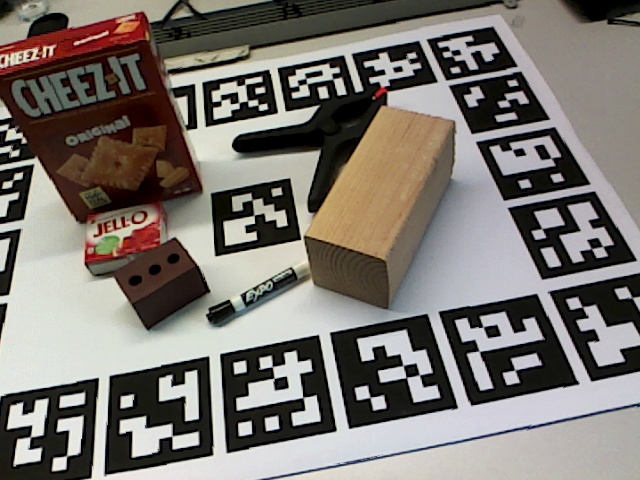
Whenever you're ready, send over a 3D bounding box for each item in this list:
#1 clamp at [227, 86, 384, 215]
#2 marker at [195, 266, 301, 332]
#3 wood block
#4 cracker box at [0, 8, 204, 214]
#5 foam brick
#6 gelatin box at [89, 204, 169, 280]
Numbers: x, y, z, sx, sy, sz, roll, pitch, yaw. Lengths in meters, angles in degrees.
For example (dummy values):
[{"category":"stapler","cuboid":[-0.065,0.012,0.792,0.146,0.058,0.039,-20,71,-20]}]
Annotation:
[{"category":"clamp","cuboid":[0.006,-0.134,0.788,0.202,0.036,0.166,-38,57,-18]},{"category":"marker","cuboid":[-0.077,0.063,0.660,0.121,0.019,0.020,-28,56,-12]},{"category":"wood block","cuboid":[0.067,-0.039,0.677,0.090,0.090,0.206,16,54,22]},{"category":"cracker box","cuboid":[-0.238,-0.137,0.712,0.164,0.213,0.072,-14,51,-4]},{"category":"foam brick","cuboid":[-0.172,0.049,0.667,0.078,0.051,0.053,-32,57,-15]},{"category":"gelatin box","cuboid":[-0.224,0.002,0.728,0.089,0.030,0.073,-13,54,-1]}]
